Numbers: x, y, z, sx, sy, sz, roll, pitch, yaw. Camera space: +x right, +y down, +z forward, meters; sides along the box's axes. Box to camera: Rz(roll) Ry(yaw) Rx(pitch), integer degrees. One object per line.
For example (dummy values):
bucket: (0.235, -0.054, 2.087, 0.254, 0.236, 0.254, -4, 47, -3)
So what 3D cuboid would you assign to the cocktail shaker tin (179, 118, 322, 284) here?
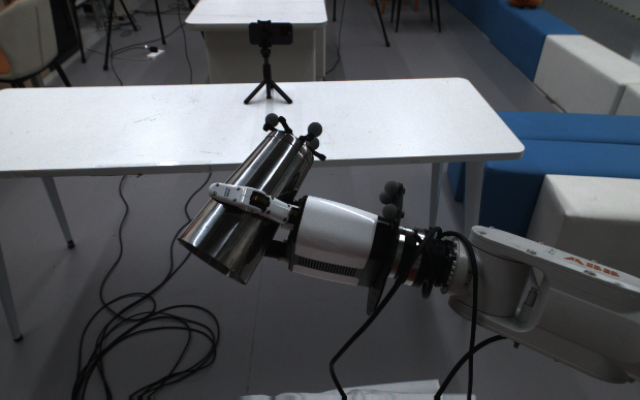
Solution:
cocktail shaker tin: (-0.078, -0.002, 0.568, 0.093, 0.093, 0.170, 22, 67, 26)
